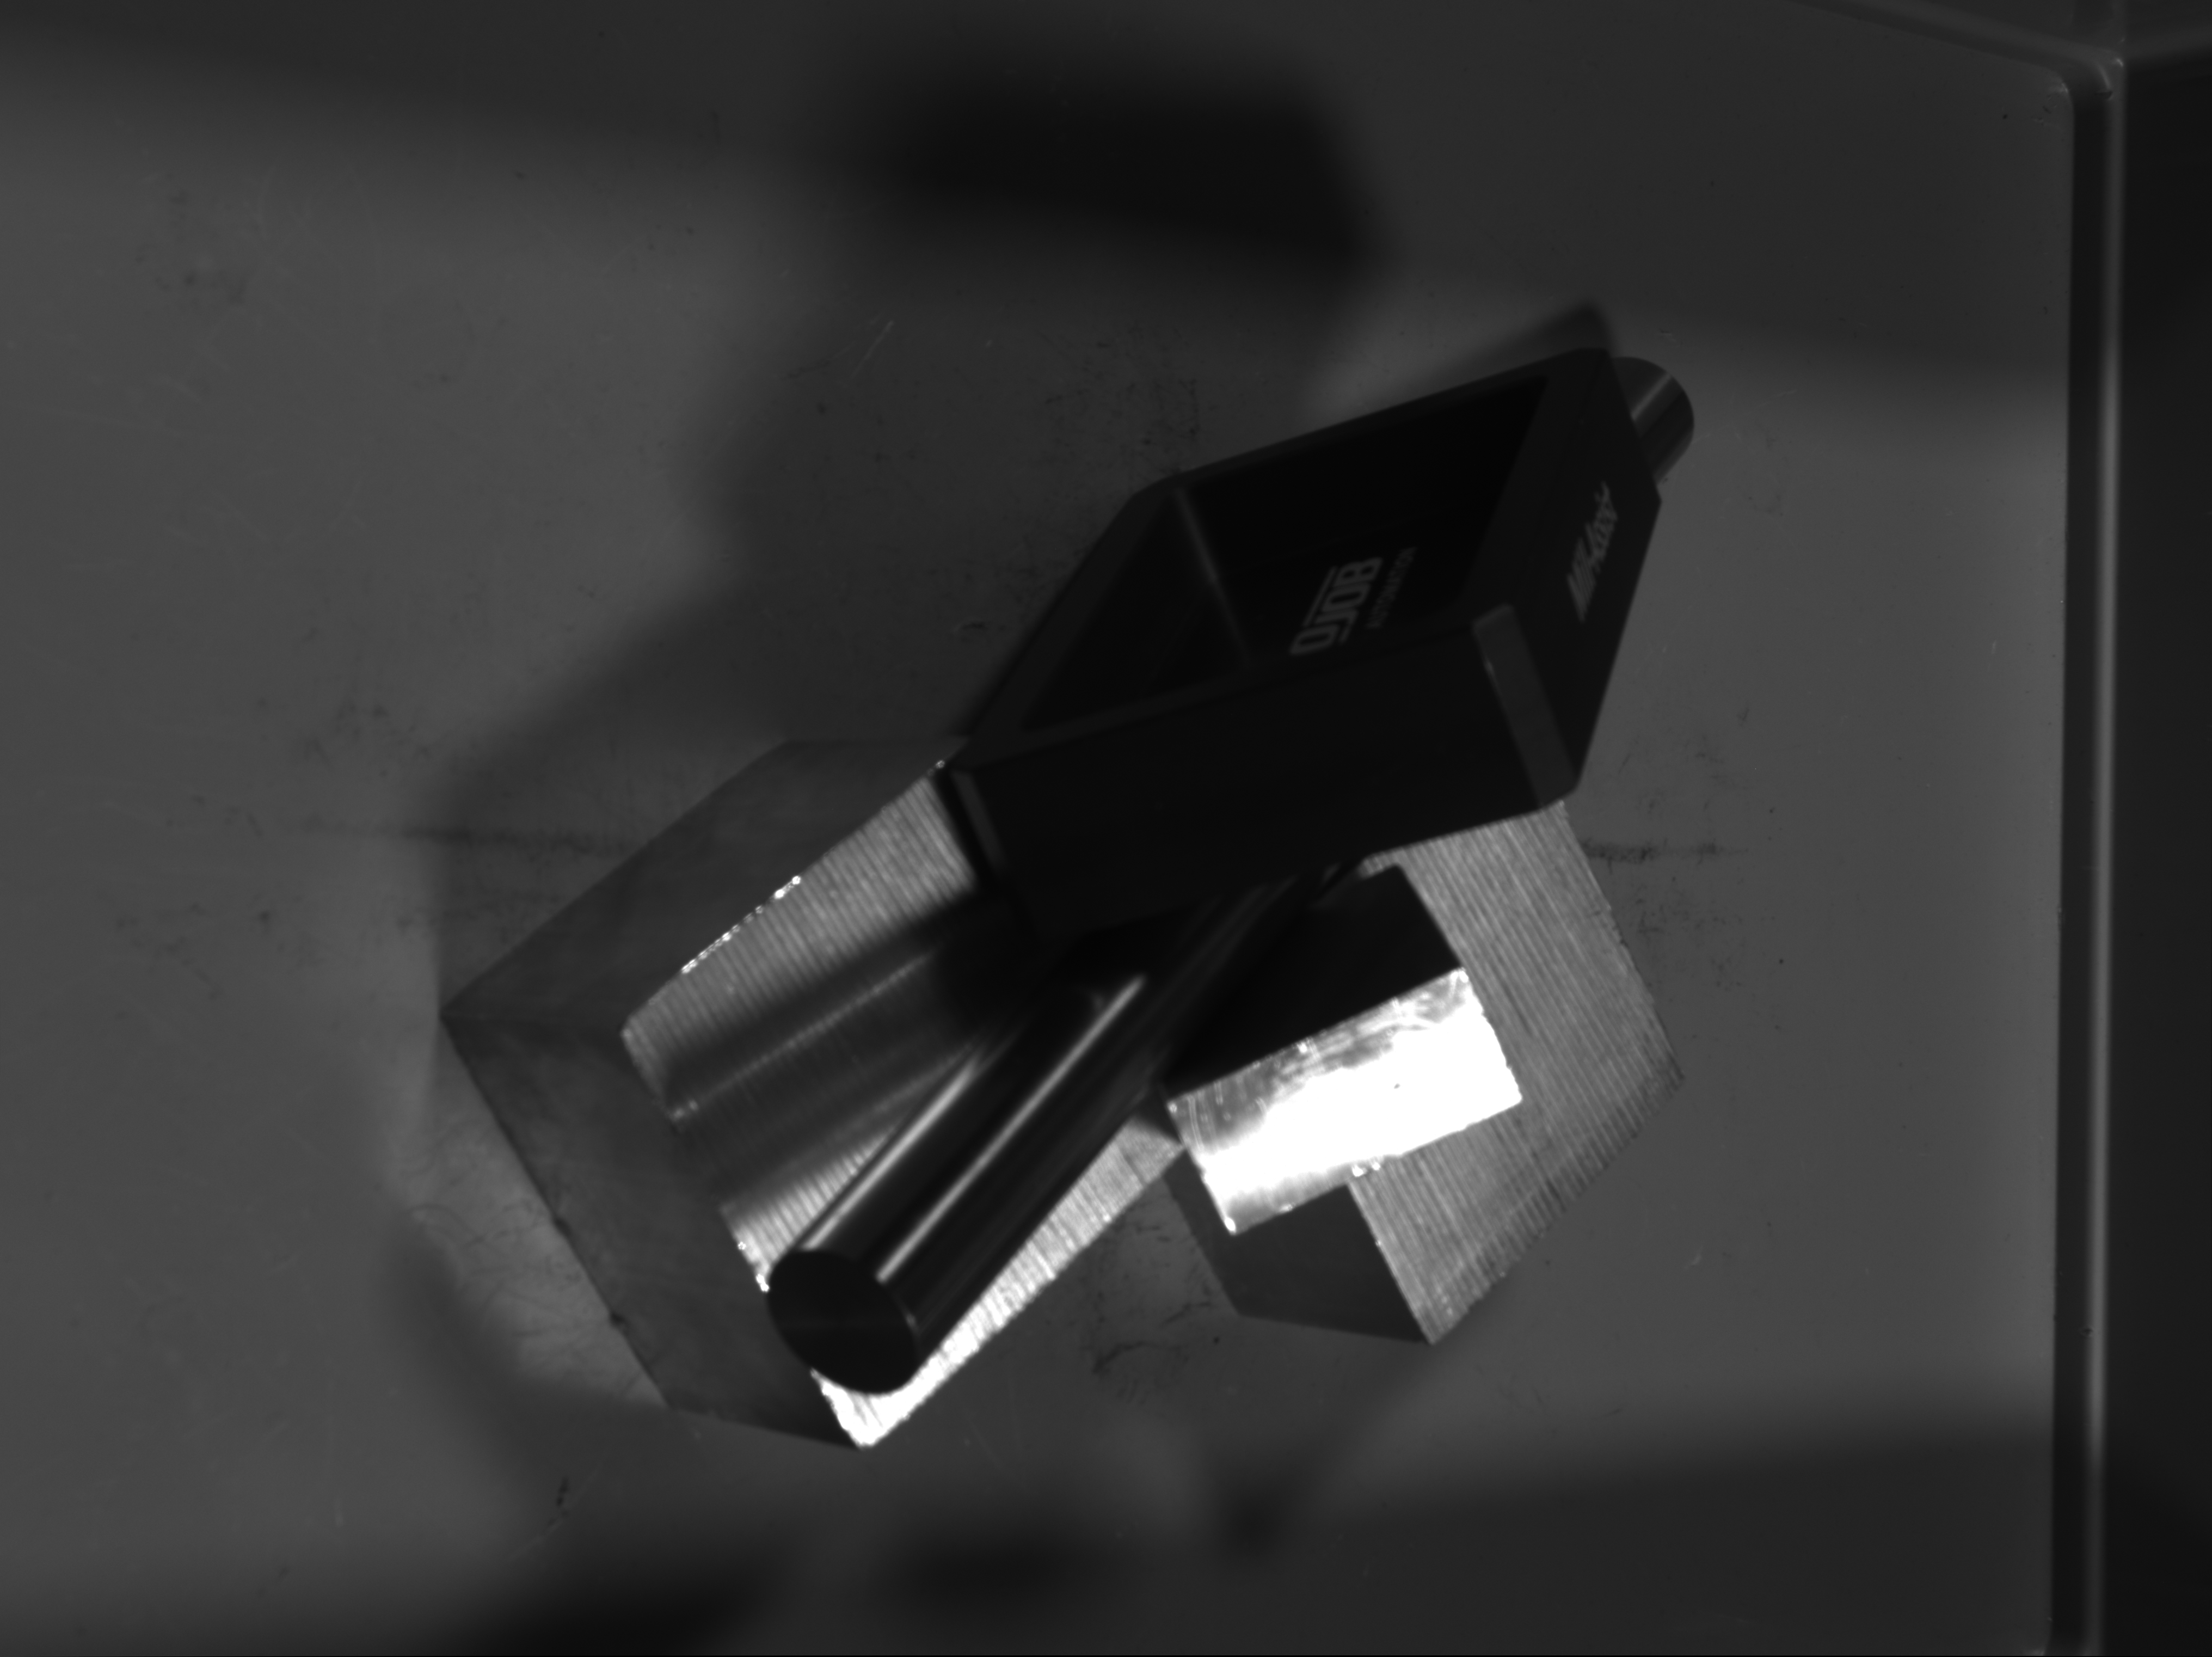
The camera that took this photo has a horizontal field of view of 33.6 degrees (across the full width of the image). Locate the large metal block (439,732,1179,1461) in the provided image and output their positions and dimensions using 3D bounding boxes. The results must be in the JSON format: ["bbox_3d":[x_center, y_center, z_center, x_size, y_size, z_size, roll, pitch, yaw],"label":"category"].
[{"bbox_3d":[-0.044,0.040,0.580,0.080,0.050,0.080,-41,115,-32],"label":"large metal block"}]

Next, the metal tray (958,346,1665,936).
[{"bbox_3d":[0.037,-0.033,0.590,0.130,0.090,0.030,-61,132,-62],"label":"metal tray"}]

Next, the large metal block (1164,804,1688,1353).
[{"bbox_3d":[0.049,0.036,0.661,0.080,0.050,0.080,-41,115,-32],"label":"large metal block"}]

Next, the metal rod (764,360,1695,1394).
[{"bbox_3d":[0.034,-0.007,0.616,0.300,0.025,0.025,-47,119,-47],"label":"metal rod"}]

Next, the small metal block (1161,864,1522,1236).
[{"bbox_3d":[0.034,0.034,0.585,0.050,0.050,0.025,-24,109,1],"label":"small metal block"}]
